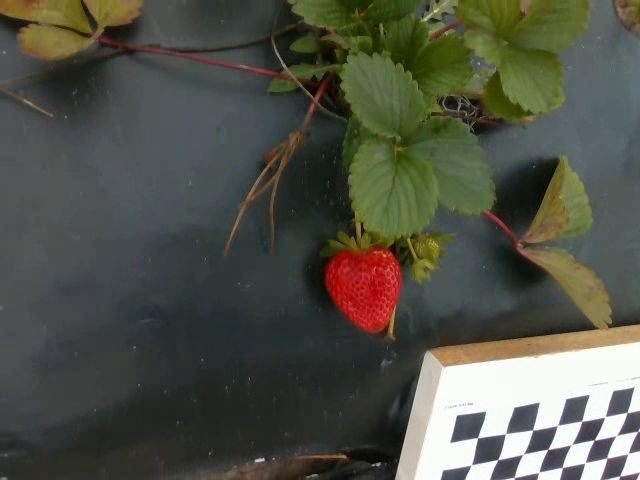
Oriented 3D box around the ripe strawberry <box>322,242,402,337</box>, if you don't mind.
[{"bbox_3d":[0.008,0.009,0.093,0.018,0.017,0.014,1,-21,-34],"label":"ripe strawberry"}]
